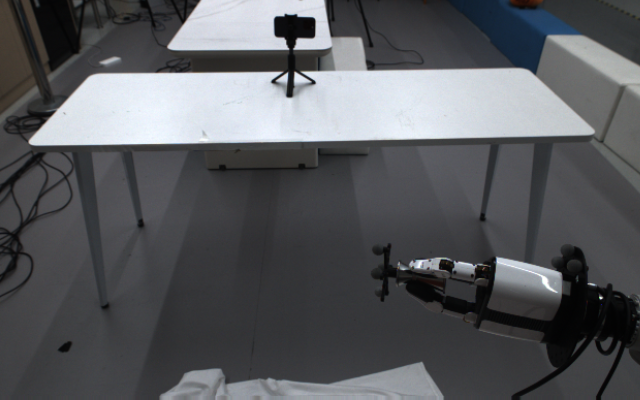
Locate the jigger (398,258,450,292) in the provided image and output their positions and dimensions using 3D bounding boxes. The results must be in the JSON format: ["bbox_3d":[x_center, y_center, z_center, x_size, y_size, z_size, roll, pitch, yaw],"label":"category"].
[{"bbox_3d":[0.153,0.104,0.694,0.071,0.043,0.043,3,34,15],"label":"jigger"}]
